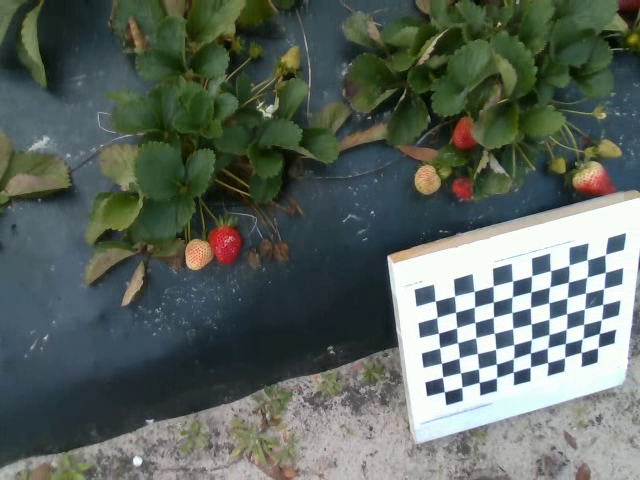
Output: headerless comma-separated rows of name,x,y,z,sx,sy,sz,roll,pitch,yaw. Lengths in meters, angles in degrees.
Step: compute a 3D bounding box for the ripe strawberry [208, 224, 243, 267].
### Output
ripe strawberry,-0.091,0.006,0.591,0.034,0.041,0.033,15,-38,-19
